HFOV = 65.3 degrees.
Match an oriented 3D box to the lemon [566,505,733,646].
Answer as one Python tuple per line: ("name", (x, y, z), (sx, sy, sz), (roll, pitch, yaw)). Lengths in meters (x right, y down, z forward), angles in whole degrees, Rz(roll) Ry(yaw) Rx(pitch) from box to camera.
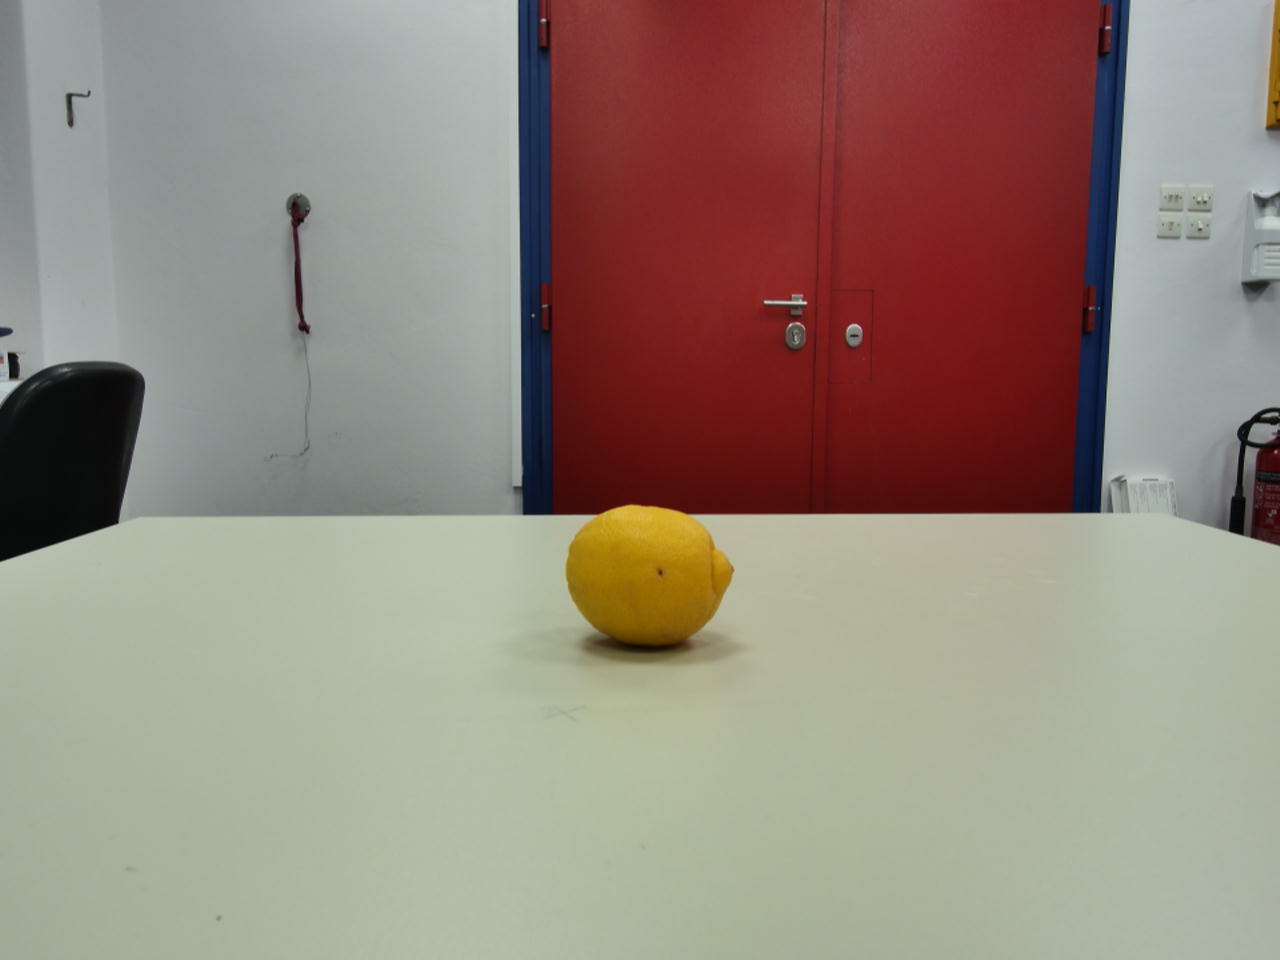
("lemon", (0.002, 0.041, 0.430), (0.067, 0.059, 0.060), (4, 5, 41))
